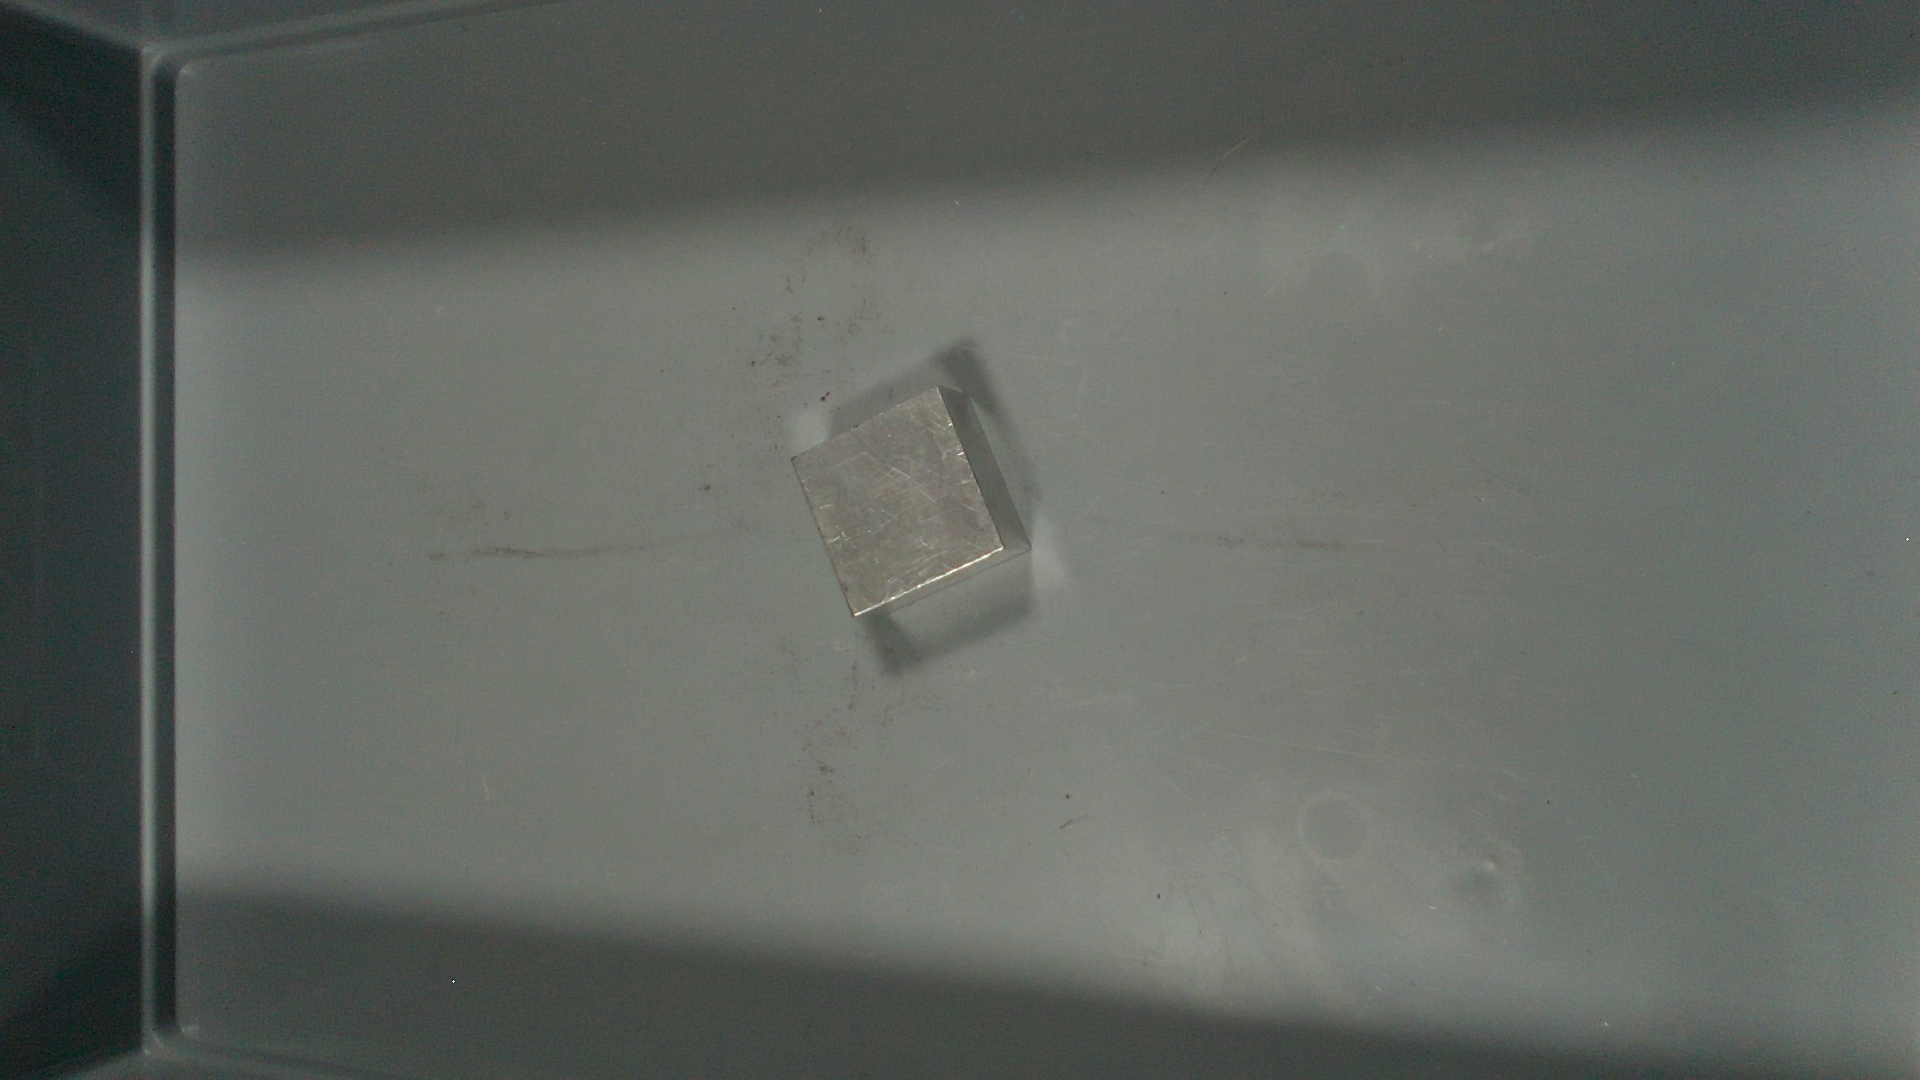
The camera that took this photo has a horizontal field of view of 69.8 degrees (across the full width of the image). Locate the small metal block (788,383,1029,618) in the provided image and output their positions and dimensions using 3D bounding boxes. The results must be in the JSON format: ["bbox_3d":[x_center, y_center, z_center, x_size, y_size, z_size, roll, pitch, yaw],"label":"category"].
[{"bbox_3d":[-0.014,-0.011,0.398,0.050,0.025,0.050,-25,82,18],"label":"small metal block"}]
